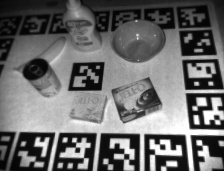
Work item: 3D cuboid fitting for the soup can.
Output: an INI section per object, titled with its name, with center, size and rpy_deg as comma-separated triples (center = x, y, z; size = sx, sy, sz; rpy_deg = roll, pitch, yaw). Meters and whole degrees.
[soup can]
center = -0.210, -0.034, 0.612
size = 0.068, 0.103, 0.067
rpy_deg = -3, 59, 5

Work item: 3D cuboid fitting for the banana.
[banana]
center = -0.237, -0.112, 0.705
size = 0.198, 0.039, 0.073
rpy_deg = -42, 54, -15

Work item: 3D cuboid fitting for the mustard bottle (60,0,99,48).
[mustard bottle]
center = -0.102, -0.191, 0.629
size = 0.096, 0.193, 0.058
rpy_deg = -1, 59, 9

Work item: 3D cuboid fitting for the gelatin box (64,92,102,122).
[gelatin box]
center = -0.079, 0.058, 0.595
size = 0.089, 0.030, 0.073
rpy_deg = 6, 66, 12

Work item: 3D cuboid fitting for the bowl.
[bowl]
center = 0.077, -0.138, 0.669
size = 0.161, 0.055, 0.161
rpy_deg = -4, 60, 8

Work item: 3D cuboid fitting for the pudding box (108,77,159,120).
[pudding box]
center = 0.057, 0.030, 0.585
size = 0.114, 0.039, 0.089
rpy_deg = -21, 66, -4
